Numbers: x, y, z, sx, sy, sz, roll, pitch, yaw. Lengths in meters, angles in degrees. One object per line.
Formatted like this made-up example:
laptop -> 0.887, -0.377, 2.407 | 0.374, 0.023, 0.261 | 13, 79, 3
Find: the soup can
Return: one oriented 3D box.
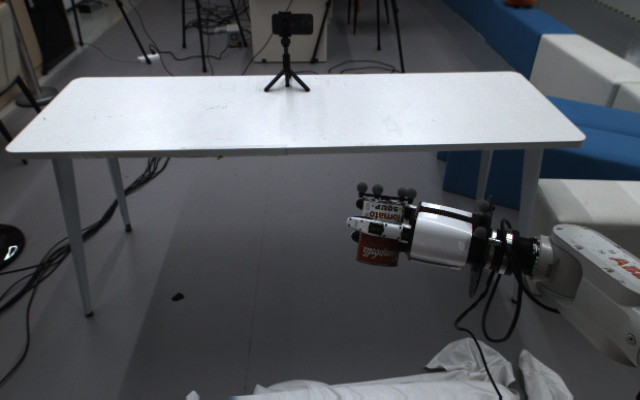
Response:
soup can -> 0.098, 0.050, 0.771 | 0.067, 0.101, 0.067 | 7, 3, 0
